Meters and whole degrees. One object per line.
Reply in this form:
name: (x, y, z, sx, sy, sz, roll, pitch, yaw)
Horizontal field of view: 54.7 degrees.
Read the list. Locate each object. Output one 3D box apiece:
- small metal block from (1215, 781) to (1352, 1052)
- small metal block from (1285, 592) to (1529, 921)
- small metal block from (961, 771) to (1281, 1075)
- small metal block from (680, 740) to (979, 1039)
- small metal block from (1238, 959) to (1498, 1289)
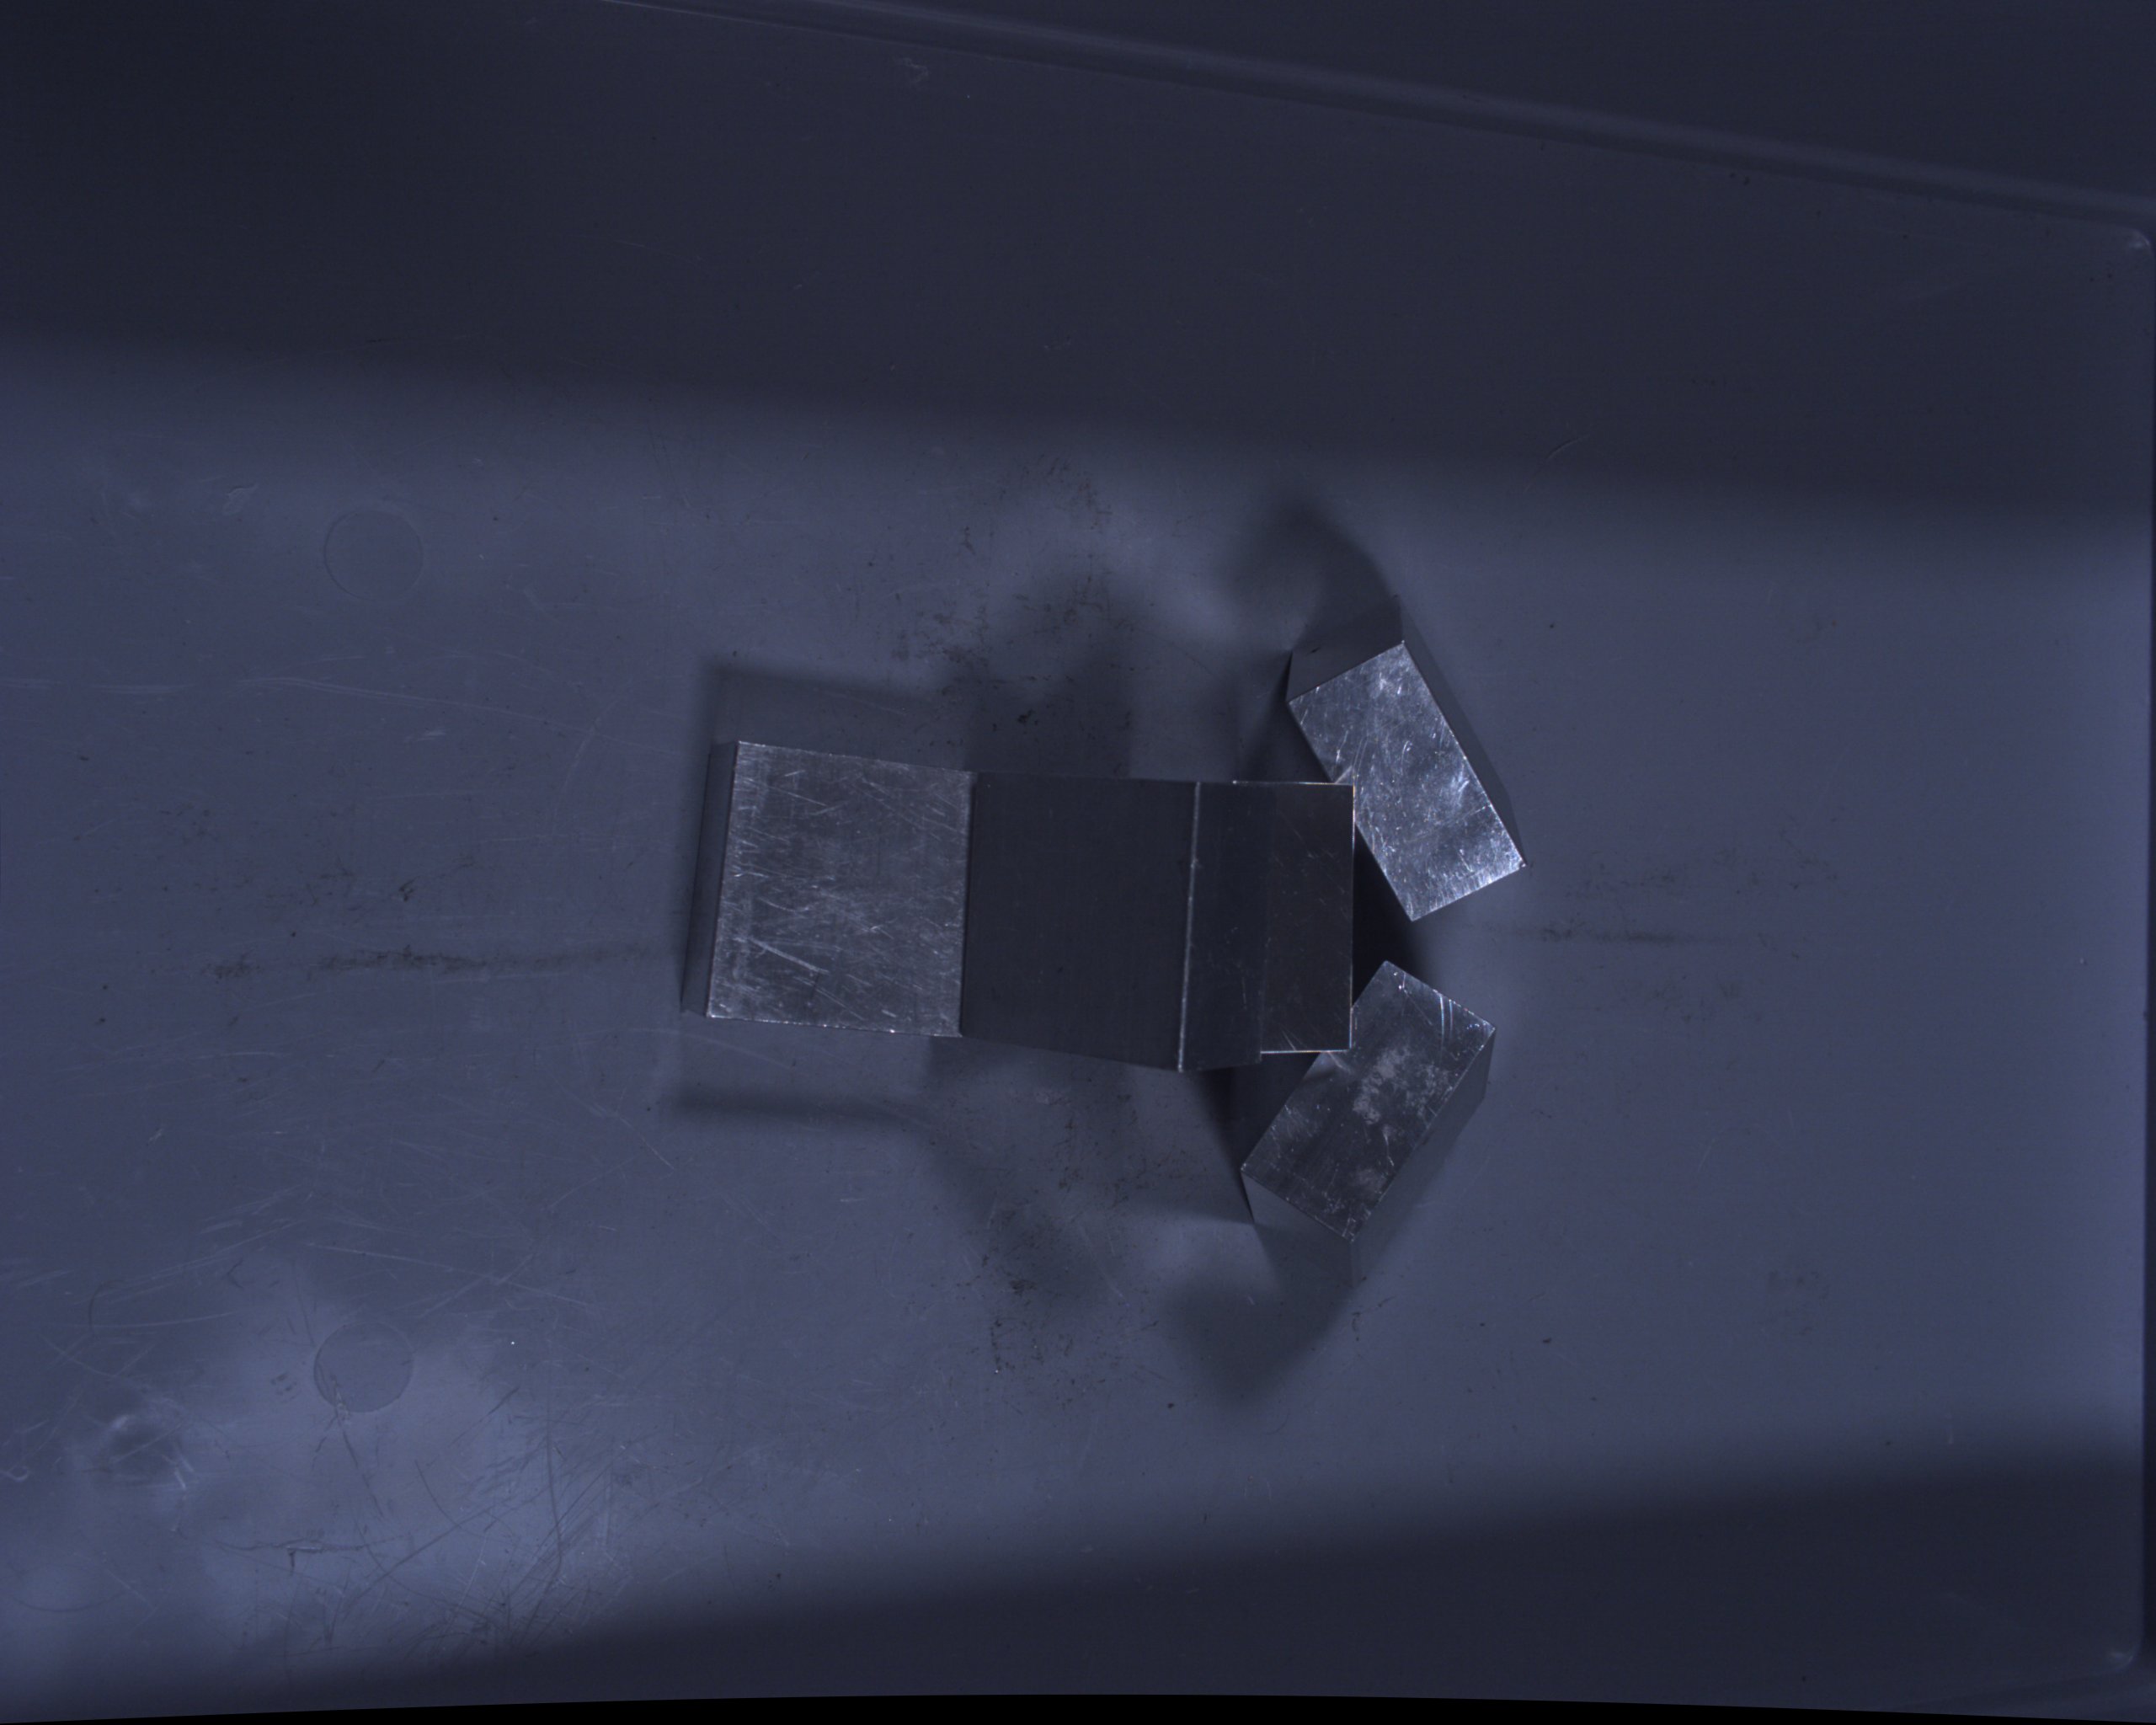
small metal block: (0.030, 0.010, 0.408, 0.025, 0.050, 0.050, 1, 90, -20)
small metal block: (0.066, -0.023, 0.418, 0.025, 0.050, 0.050, -28, 102, 15)
small metal block: (0.007, 0.010, 0.380, 0.025, 0.050, 0.050, 1, 93, -52)
small metal block: (-0.045, 0.005, 0.392, 0.050, 0.025, 0.050, 7, 88, -20)
small metal block: (0.058, 0.053, 0.416, 0.025, 0.050, 0.050, 32, 76, 18)
